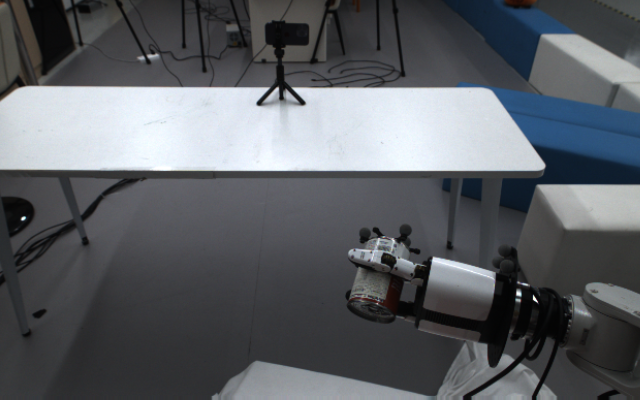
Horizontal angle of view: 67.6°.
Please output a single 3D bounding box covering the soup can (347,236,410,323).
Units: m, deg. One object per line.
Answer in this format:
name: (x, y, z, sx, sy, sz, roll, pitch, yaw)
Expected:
soup can: (0.083, 0.107, 0.671, 0.067, 0.067, 0.101, 12, 59, 14)
